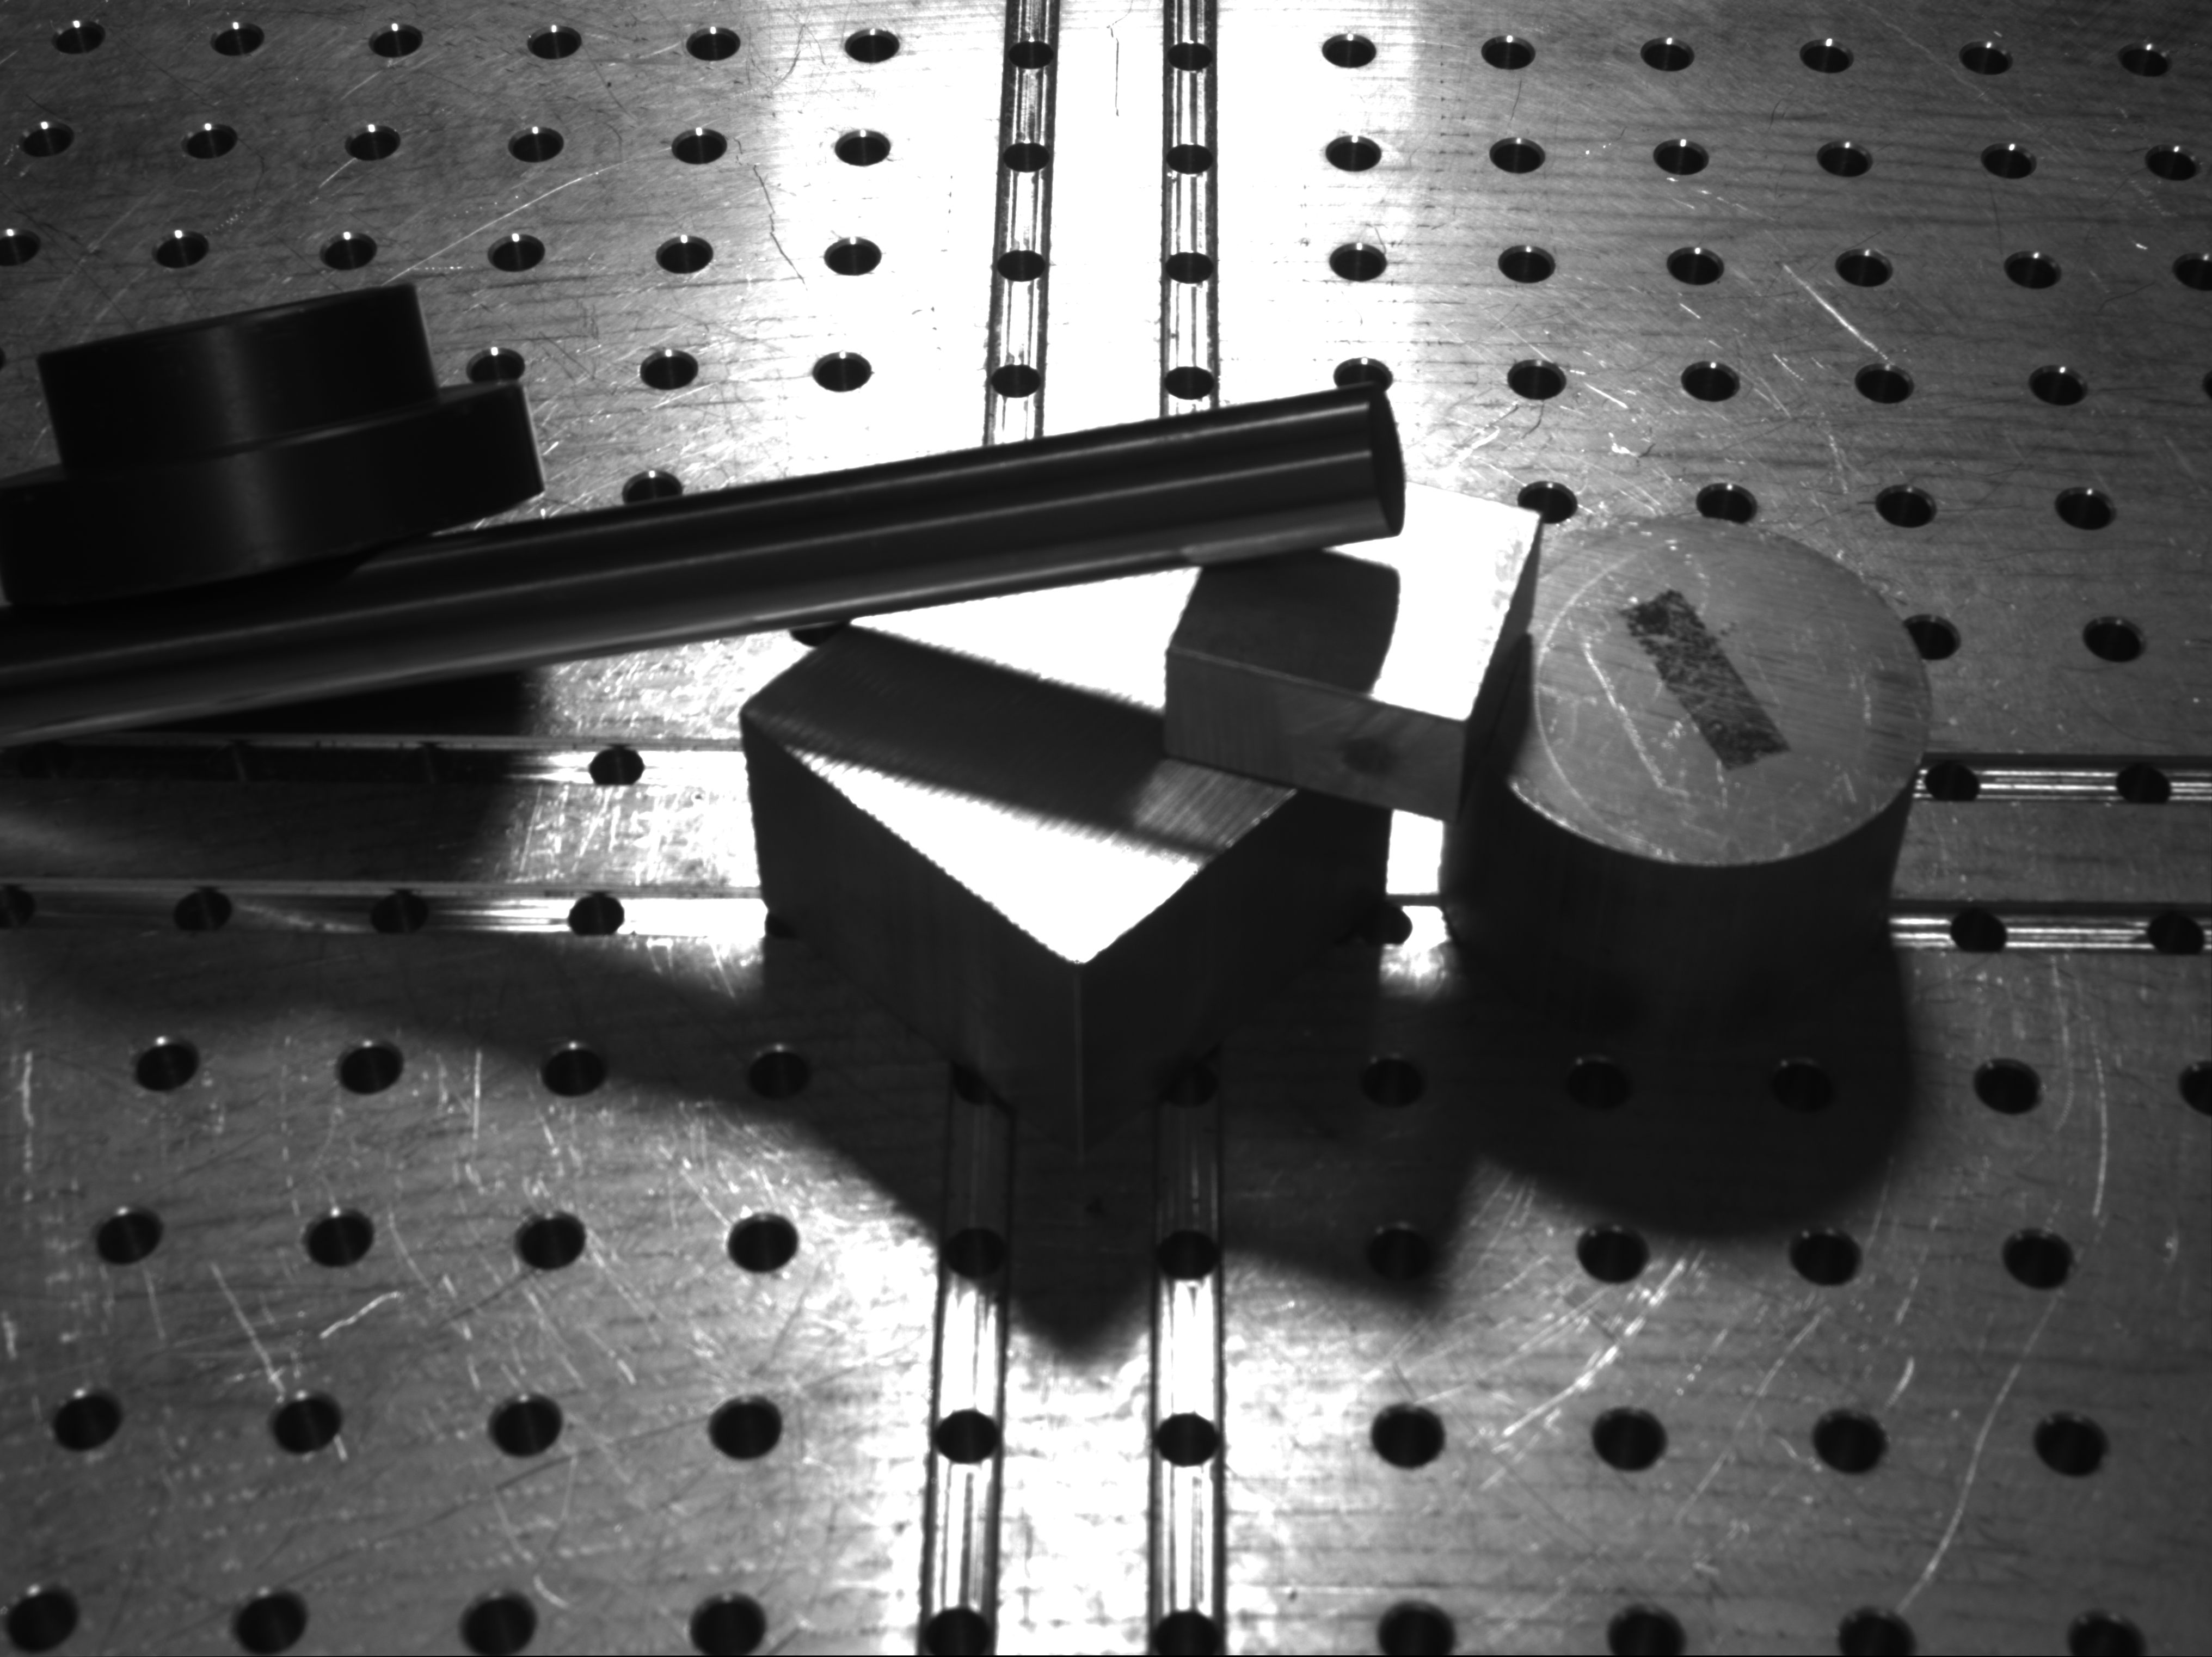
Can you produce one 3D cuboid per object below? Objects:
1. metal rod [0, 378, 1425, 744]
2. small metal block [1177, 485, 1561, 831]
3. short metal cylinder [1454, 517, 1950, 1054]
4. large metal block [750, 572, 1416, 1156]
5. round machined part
[{"bbox_3d":[-0.095,-0.040,0.622,0.300,0.025,0.025,-7,48,16],"label":"metal rod"},{"bbox_3d":[0.043,-0.032,0.604,0.050,0.025,0.050,14,51,12],"label":"small metal block"},{"bbox_3d":[0.102,-0.008,0.635,0.080,0.050,0.080,0,50,0],"label":"short metal cylinder"},{"bbox_3d":[-0.003,-0.005,0.630,0.080,0.050,0.080,36,59,27],"label":"large metal block"},{"bbox_3d":[-0.151,-0.072,0.660,0.098,0.042,0.098,-11,11,2],"label":"round machined part"}]
